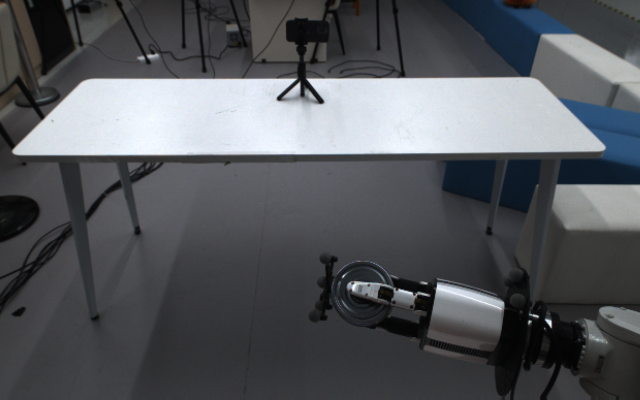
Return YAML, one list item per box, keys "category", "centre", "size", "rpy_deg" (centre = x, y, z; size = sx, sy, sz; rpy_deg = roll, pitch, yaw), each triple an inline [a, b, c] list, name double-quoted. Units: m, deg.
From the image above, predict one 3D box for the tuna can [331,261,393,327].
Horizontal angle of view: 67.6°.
- category: "tuna can"
  centre: [0.061, 0.128, 0.645]
  size: [0.085, 0.034, 0.085]
  rpy_deg: [-2, 69, 6]
